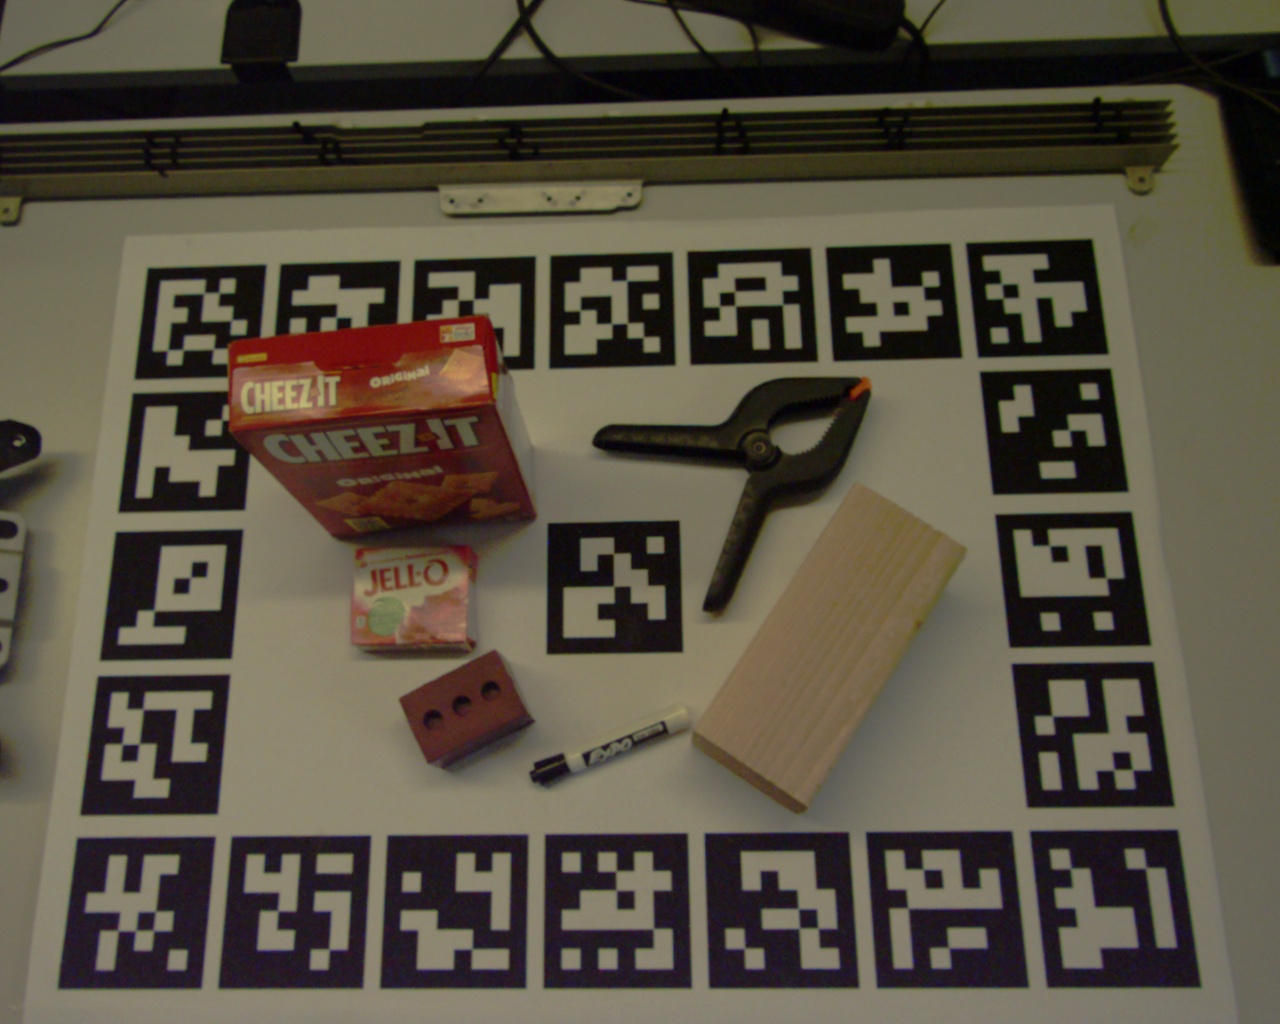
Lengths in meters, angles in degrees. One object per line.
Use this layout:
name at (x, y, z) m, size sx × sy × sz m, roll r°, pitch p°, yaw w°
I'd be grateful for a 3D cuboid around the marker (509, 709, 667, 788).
marker at (-0.040, 0.176, 0.845) m, size 0.121 × 0.019 × 0.020 m, roll -21°, pitch 77°, yaw -2°

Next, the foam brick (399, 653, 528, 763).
foam brick at (-0.130, 0.145, 0.843) m, size 0.078 × 0.051 × 0.053 m, roll -26°, pitch 77°, yaw -4°

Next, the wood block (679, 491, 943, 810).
wood block at (0.121, 0.100, 0.825) m, size 0.090 × 0.090 × 0.206 m, roll 32°, pitch 76°, yaw 13°

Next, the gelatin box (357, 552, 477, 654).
gelatin box at (-0.172, 0.071, 0.880) m, size 0.089 × 0.030 × 0.073 m, roll -3°, pitch 76°, yaw 2°

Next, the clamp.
clamp at (0.080, -0.038, 0.889) m, size 0.202 × 0.036 × 0.166 m, roll -32°, pitch 76°, yaw -5°

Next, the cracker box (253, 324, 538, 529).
cracker box at (-0.162, -0.052, 0.811) m, size 0.164 × 0.213 × 0.072 m, roll -5°, pitch 74°, yaw -1°
